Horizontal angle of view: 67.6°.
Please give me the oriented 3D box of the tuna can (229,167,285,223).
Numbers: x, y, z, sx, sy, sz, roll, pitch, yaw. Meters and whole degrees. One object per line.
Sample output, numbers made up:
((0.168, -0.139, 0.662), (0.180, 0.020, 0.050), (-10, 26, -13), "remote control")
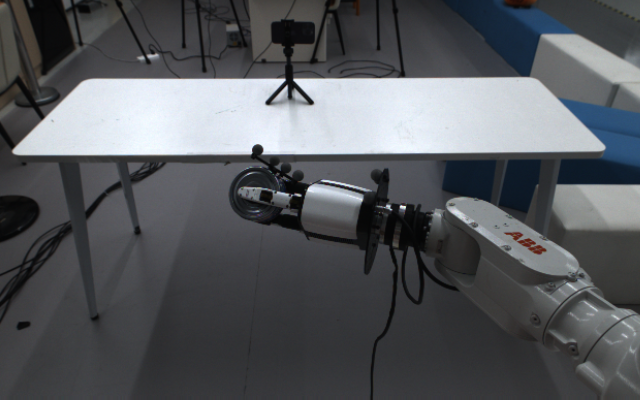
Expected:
((-0.094, -0.003, 0.746), (0.085, 0.085, 0.034), (12, -5, 14), "tuna can")
